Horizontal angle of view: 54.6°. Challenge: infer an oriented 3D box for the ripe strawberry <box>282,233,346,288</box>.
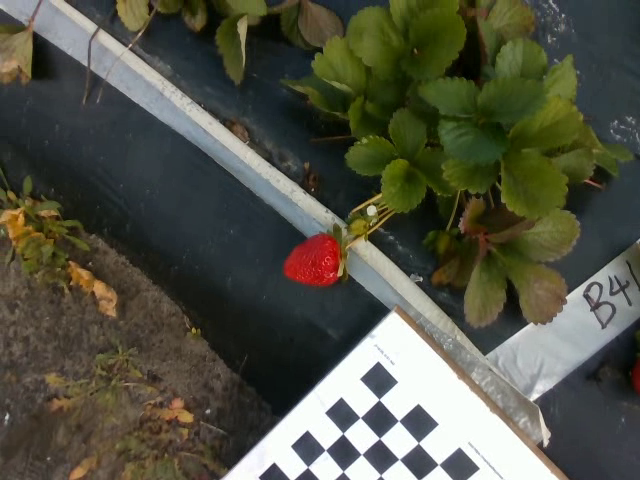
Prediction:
[{"bbox_3d":[-0.007,0.018,0.461,0.053,0.047,0.030,-10,7,-6],"label":"ripe strawberry"}]
